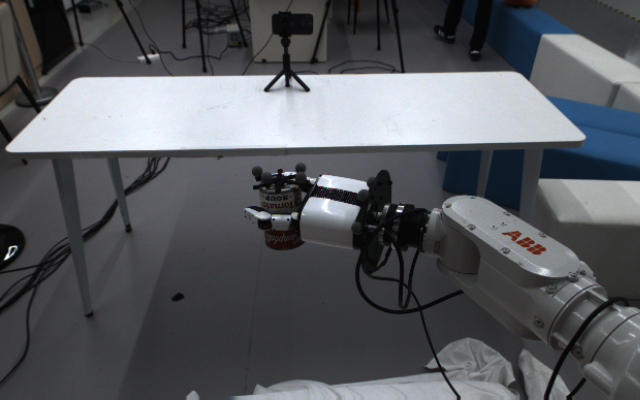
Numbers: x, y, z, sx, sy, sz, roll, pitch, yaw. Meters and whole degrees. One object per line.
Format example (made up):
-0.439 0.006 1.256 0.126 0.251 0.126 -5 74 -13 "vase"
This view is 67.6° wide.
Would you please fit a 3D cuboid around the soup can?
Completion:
-0.059 0.020 0.770 0.067 0.101 0.067 -3 26 2 "soup can"
